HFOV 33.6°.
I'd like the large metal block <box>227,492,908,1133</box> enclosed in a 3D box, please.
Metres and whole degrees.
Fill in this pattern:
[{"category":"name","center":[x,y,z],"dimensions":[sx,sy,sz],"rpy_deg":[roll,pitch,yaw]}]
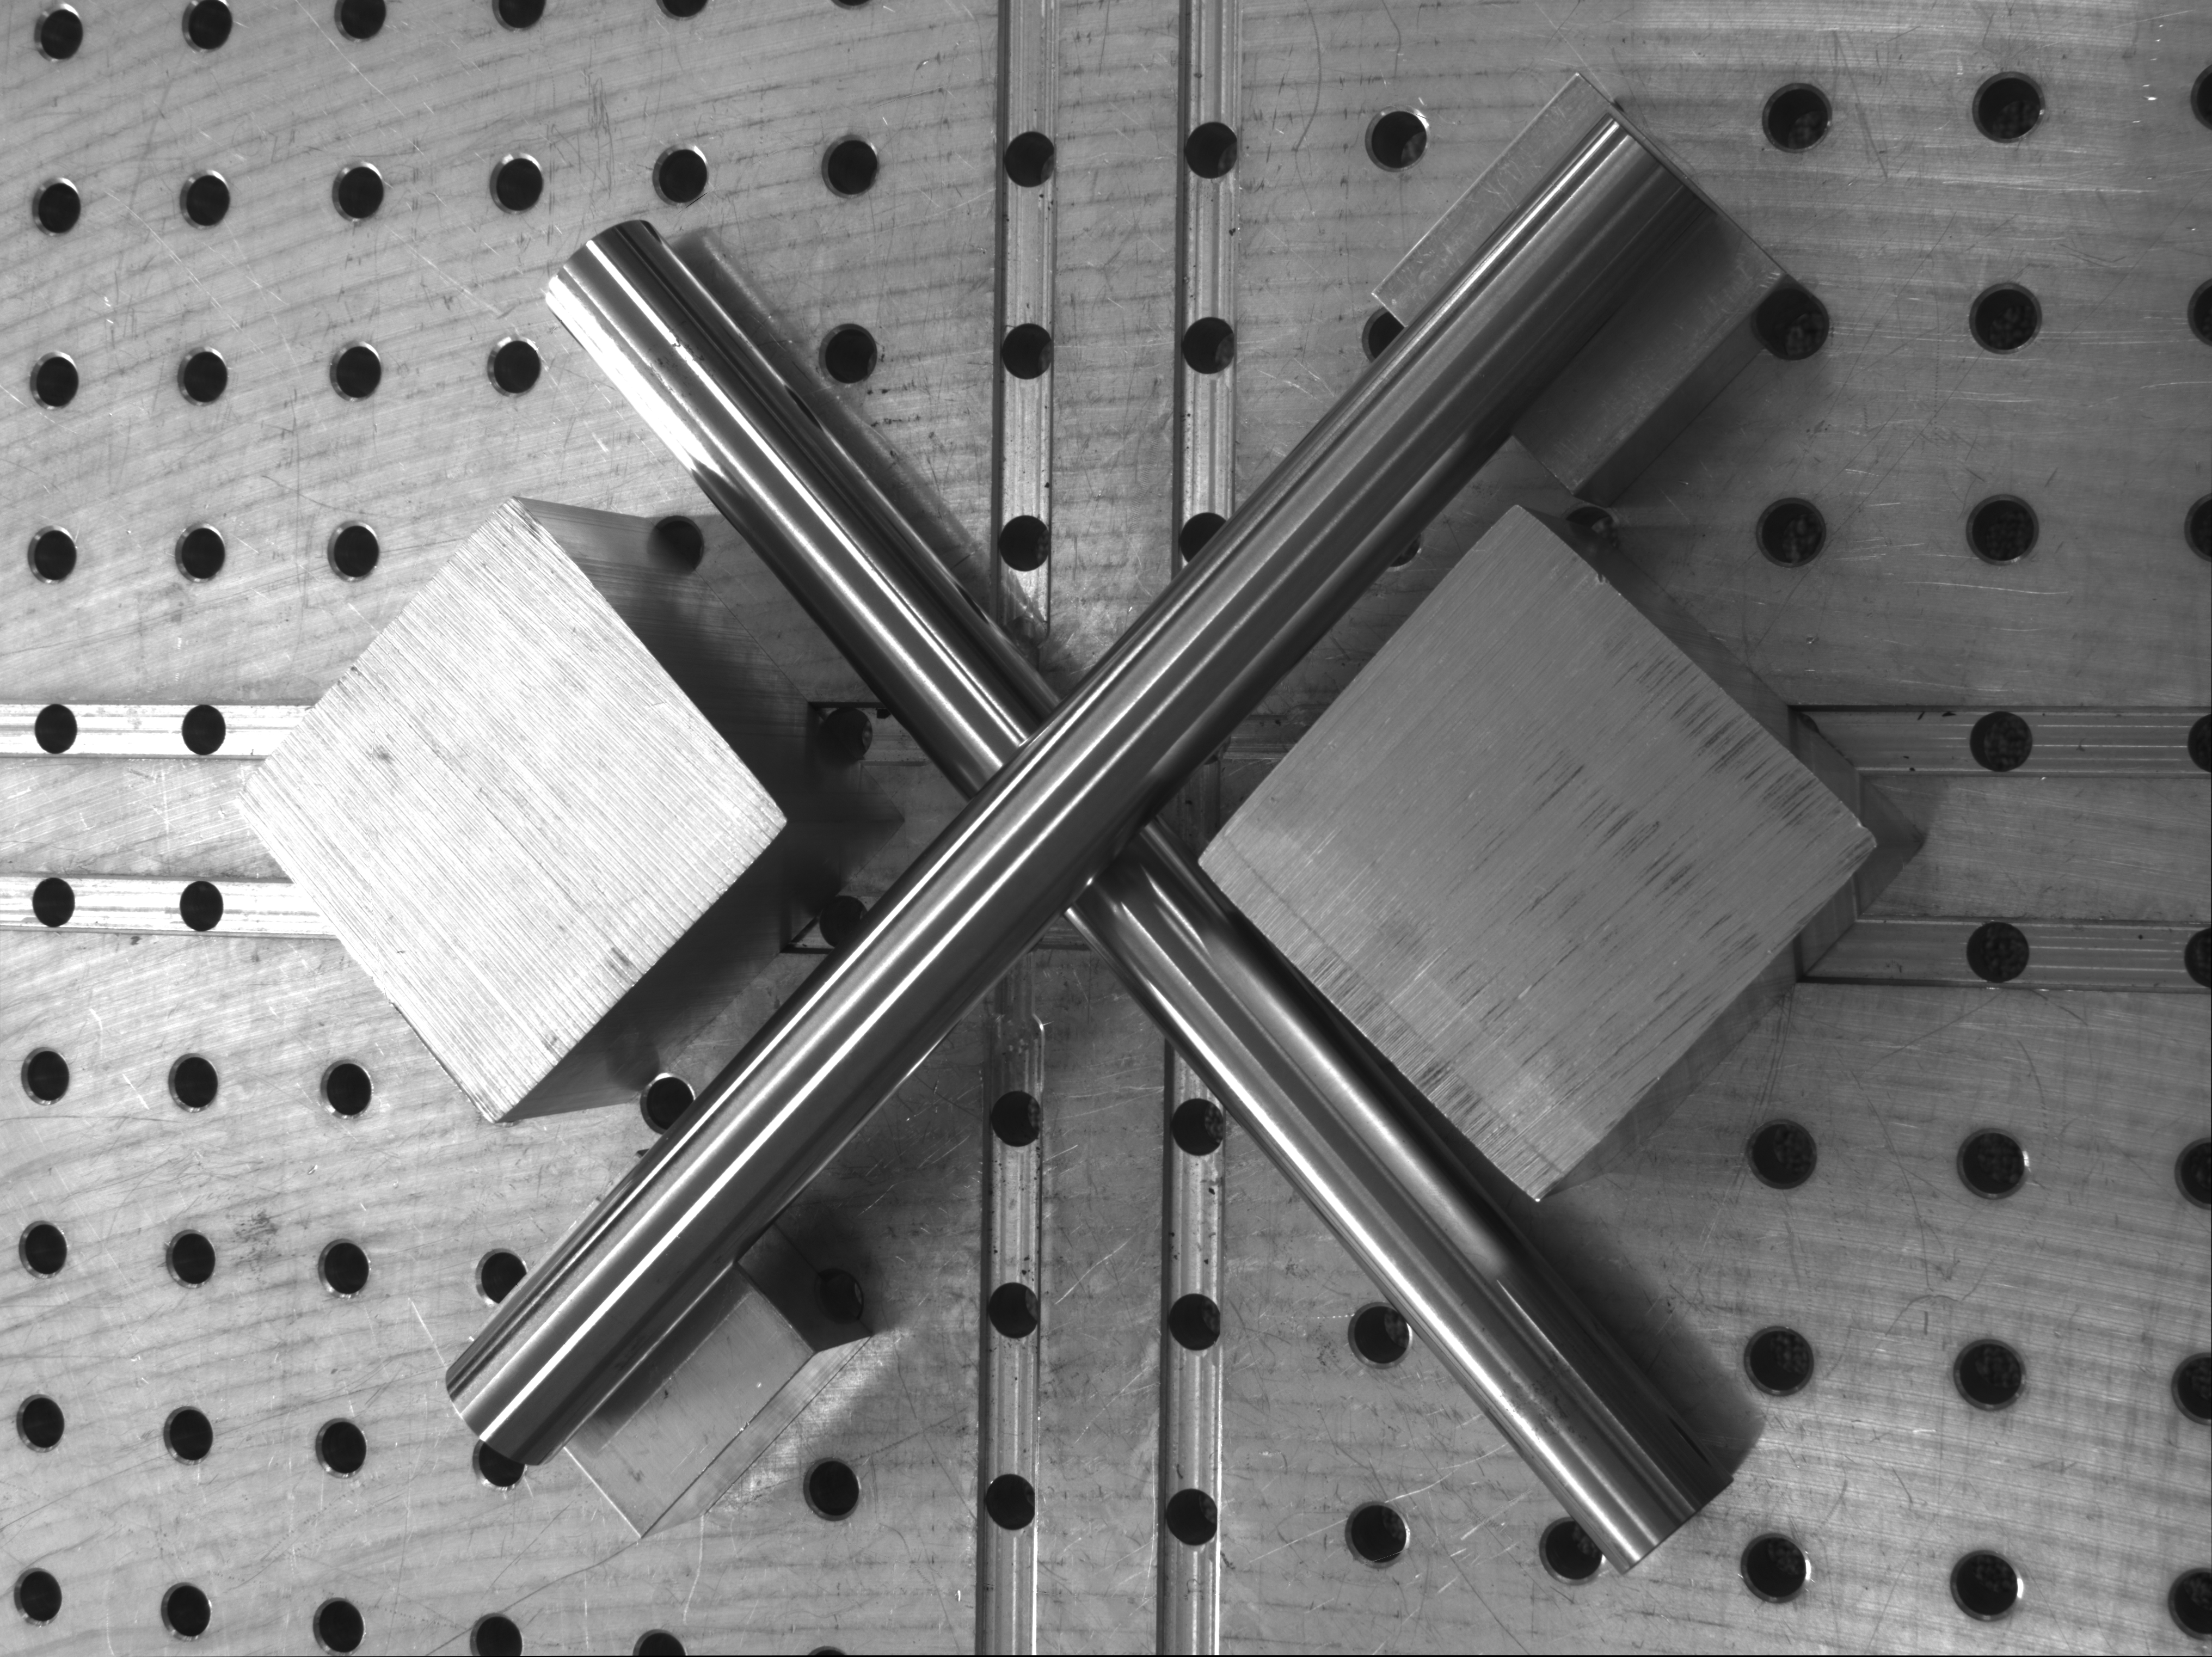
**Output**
[{"category":"large metal block","center":[-0.098,-0.003,0.671],"dimensions":[0.080,0.050,0.080],"rpy_deg":[-45,76,14]}]

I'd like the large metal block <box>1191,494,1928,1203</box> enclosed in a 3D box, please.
[{"category":"large metal block","center":[0.076,0.003,0.608],"dimensions":[0.080,0.050,0.080],"rpy_deg":[45,104,15]}]

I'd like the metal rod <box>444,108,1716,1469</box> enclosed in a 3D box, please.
[{"category":"metal rod","center":[-0.010,-0.001,0.625],"dimensions":[0.025,0.025,0.300],"rpy_deg":[46,104,14]}]

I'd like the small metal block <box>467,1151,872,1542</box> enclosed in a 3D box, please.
[{"category":"small metal block","center":[-0.081,0.094,0.678],"dimensions":[0.050,0.025,0.050],"rpy_deg":[46,104,14]}]

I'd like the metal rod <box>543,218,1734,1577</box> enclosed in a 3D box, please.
[{"category":"metal rod","center":[0.000,0.006,0.648],"dimensions":[0.025,0.025,0.300],"rpy_deg":[-44,76,15]}]

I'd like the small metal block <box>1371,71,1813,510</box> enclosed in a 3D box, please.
[{"category":"small metal block","center":[0.082,-0.090,0.620],"dimensions":[0.050,0.025,0.050],"rpy_deg":[-46,76,14]}]
